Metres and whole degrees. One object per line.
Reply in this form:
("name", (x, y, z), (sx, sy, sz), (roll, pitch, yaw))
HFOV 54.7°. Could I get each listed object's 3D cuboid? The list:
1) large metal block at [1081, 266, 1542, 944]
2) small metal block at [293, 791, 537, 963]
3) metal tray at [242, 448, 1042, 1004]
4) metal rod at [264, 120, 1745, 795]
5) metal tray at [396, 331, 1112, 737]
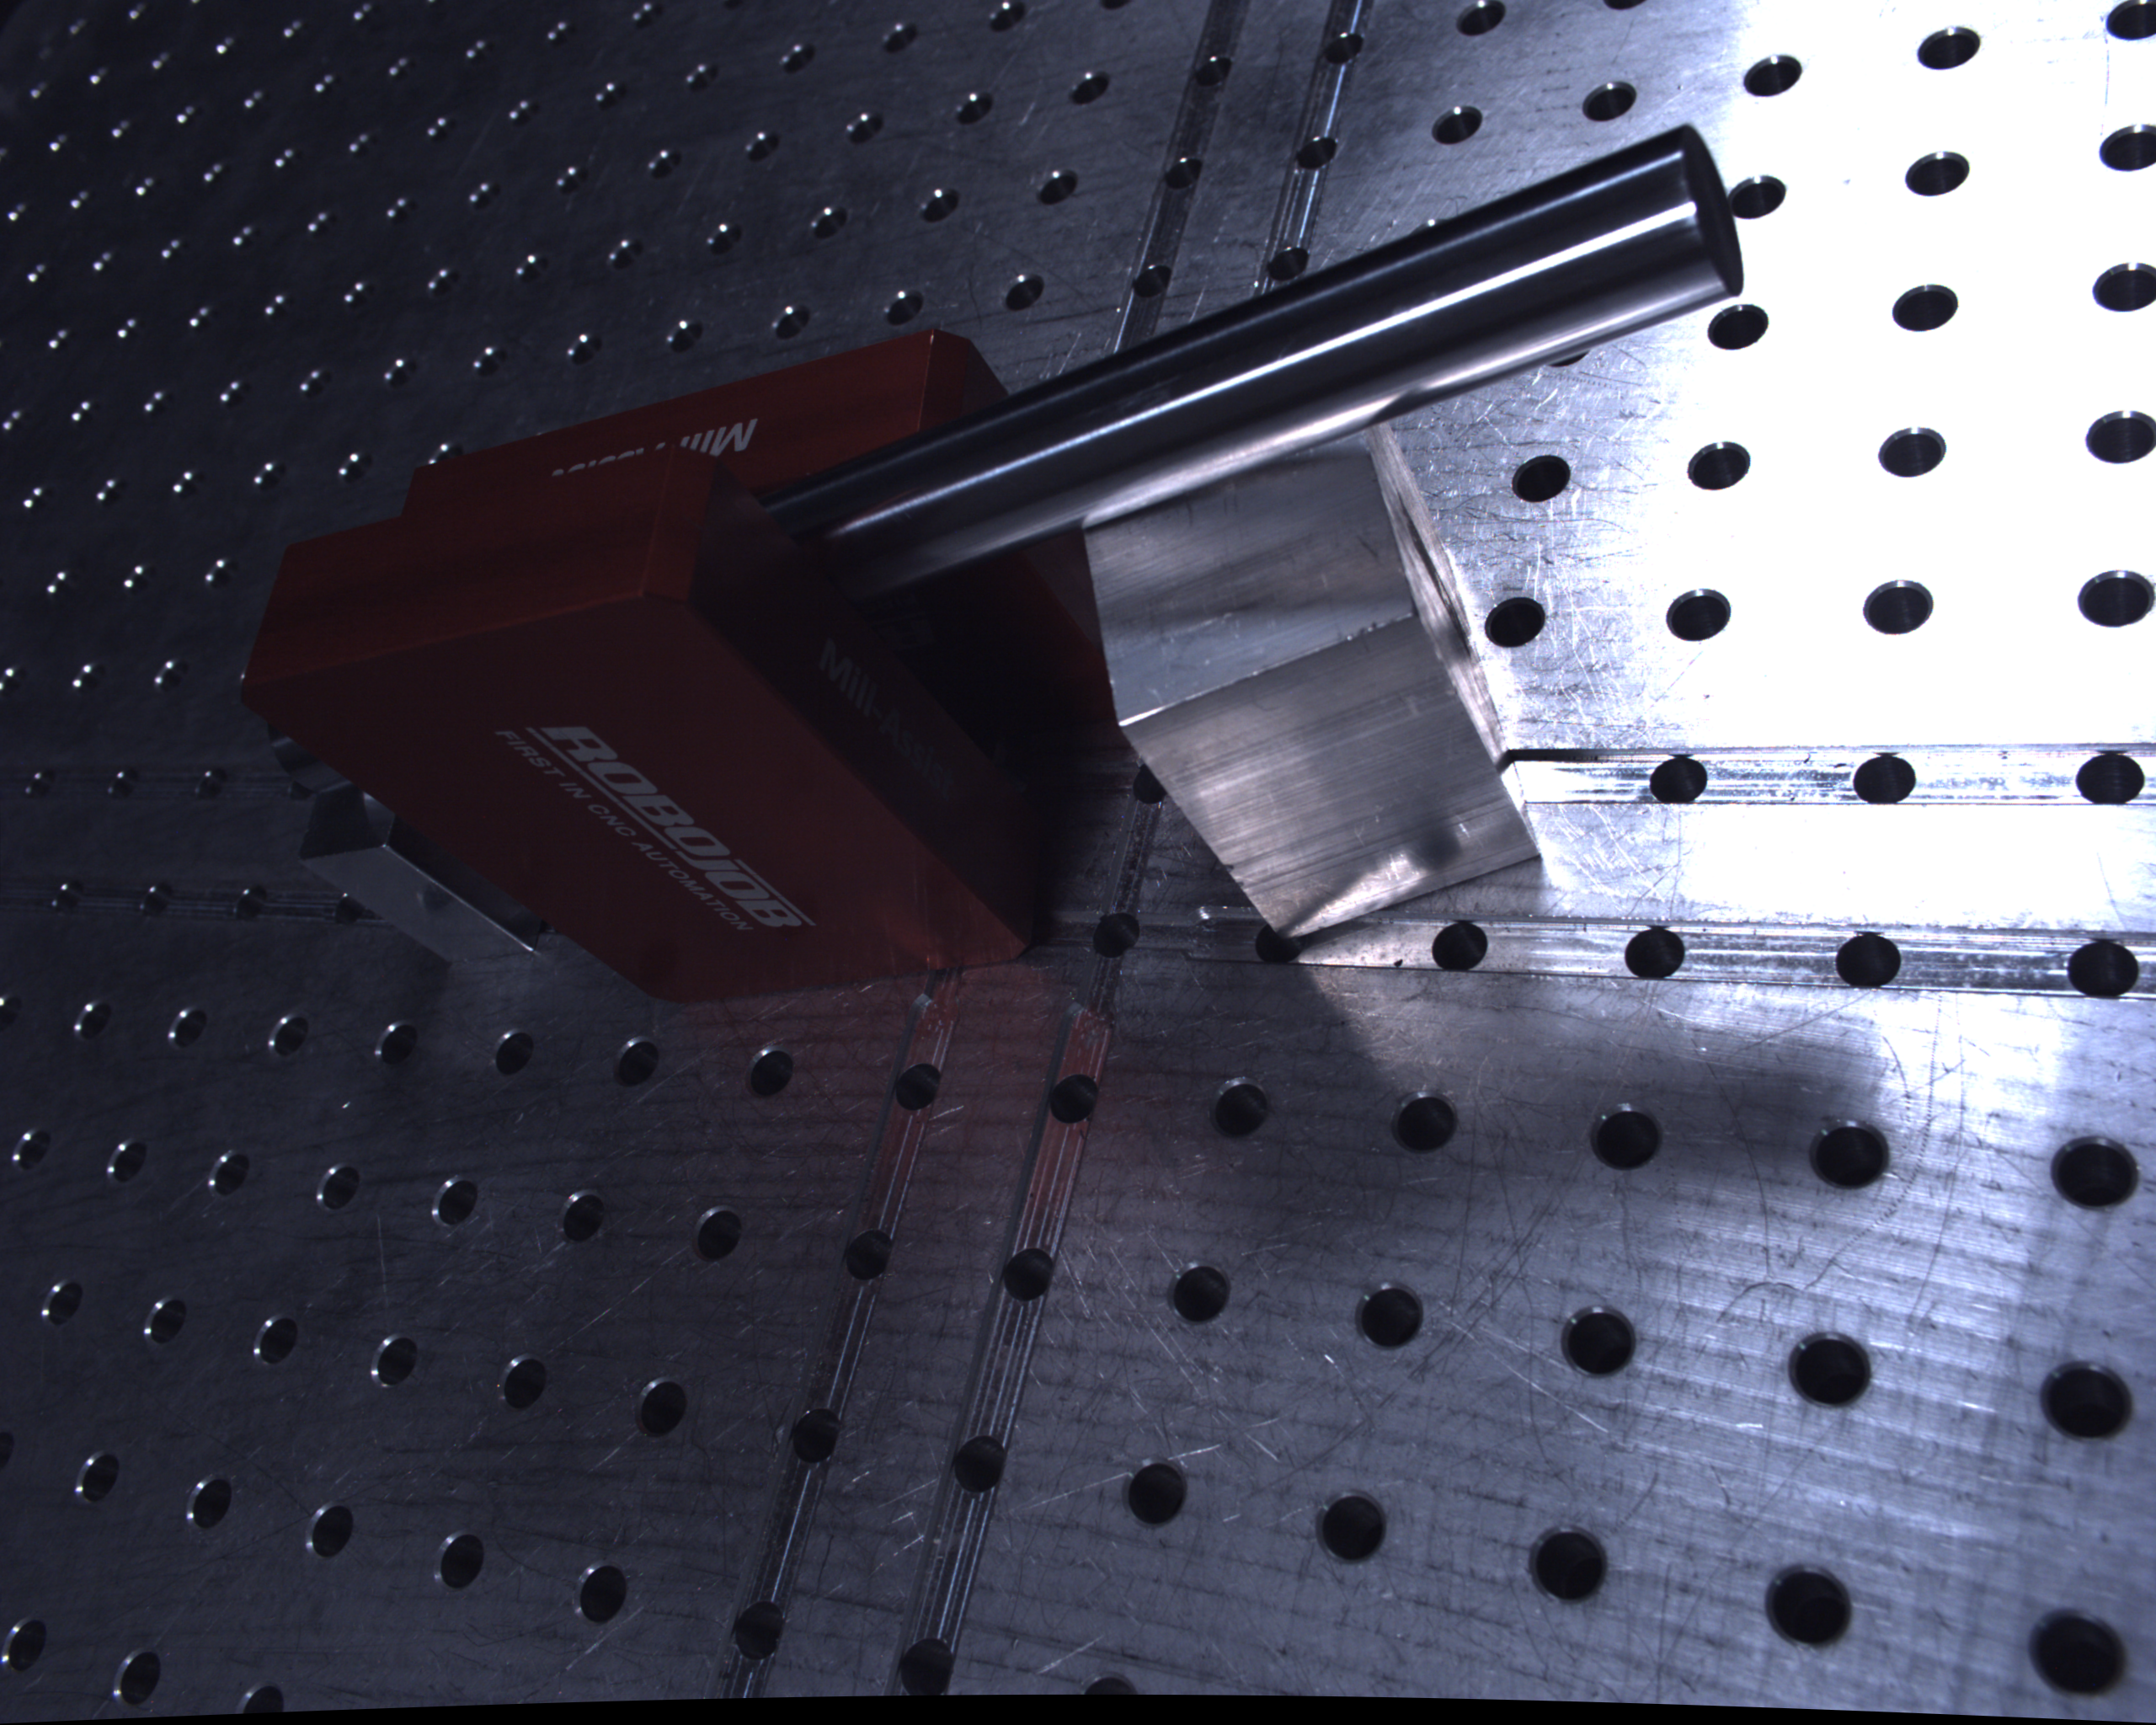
("large metal block", (0.040, -0.044, 0.377), (0.050, 0.080, 0.080), (-20, 54, 16))
("small metal block", (-0.144, -0.012, 0.472), (0.025, 0.050, 0.050), (-8, 58, 24))
("metal tray", (-0.074, -0.018, 0.389), (0.090, 0.130, 0.030), (-9, 59, 23))
("metal rod", (-0.037, -0.058, 0.365), (0.300, 0.025, 0.025), (-14, 56, 31))
("metal tray", (-0.064, -0.056, 0.432), (0.130, 0.090, 0.030), (-8, 59, 23))
